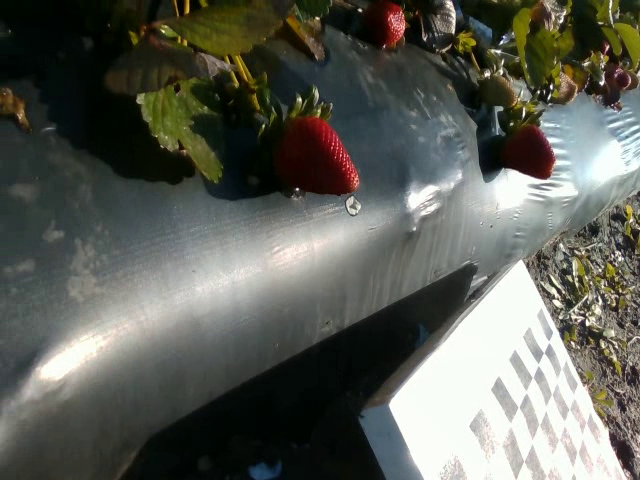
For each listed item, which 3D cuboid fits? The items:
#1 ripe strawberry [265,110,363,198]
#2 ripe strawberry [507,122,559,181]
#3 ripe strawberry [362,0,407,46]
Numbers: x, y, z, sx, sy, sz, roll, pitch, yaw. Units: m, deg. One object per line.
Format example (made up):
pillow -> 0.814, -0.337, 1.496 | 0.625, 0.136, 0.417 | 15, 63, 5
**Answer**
ripe strawberry -> 0.001, -0.039, 0.295 | 0.055, 0.042, 0.045 | 40, 21, 22
ripe strawberry -> 0.173, -0.069, 0.496 | 0.042, 0.059, 0.042 | -35, -28, 24
ripe strawberry -> 0.049, -0.159, 0.434 | 0.035, 0.035, 0.046 | -26, -2, 24
